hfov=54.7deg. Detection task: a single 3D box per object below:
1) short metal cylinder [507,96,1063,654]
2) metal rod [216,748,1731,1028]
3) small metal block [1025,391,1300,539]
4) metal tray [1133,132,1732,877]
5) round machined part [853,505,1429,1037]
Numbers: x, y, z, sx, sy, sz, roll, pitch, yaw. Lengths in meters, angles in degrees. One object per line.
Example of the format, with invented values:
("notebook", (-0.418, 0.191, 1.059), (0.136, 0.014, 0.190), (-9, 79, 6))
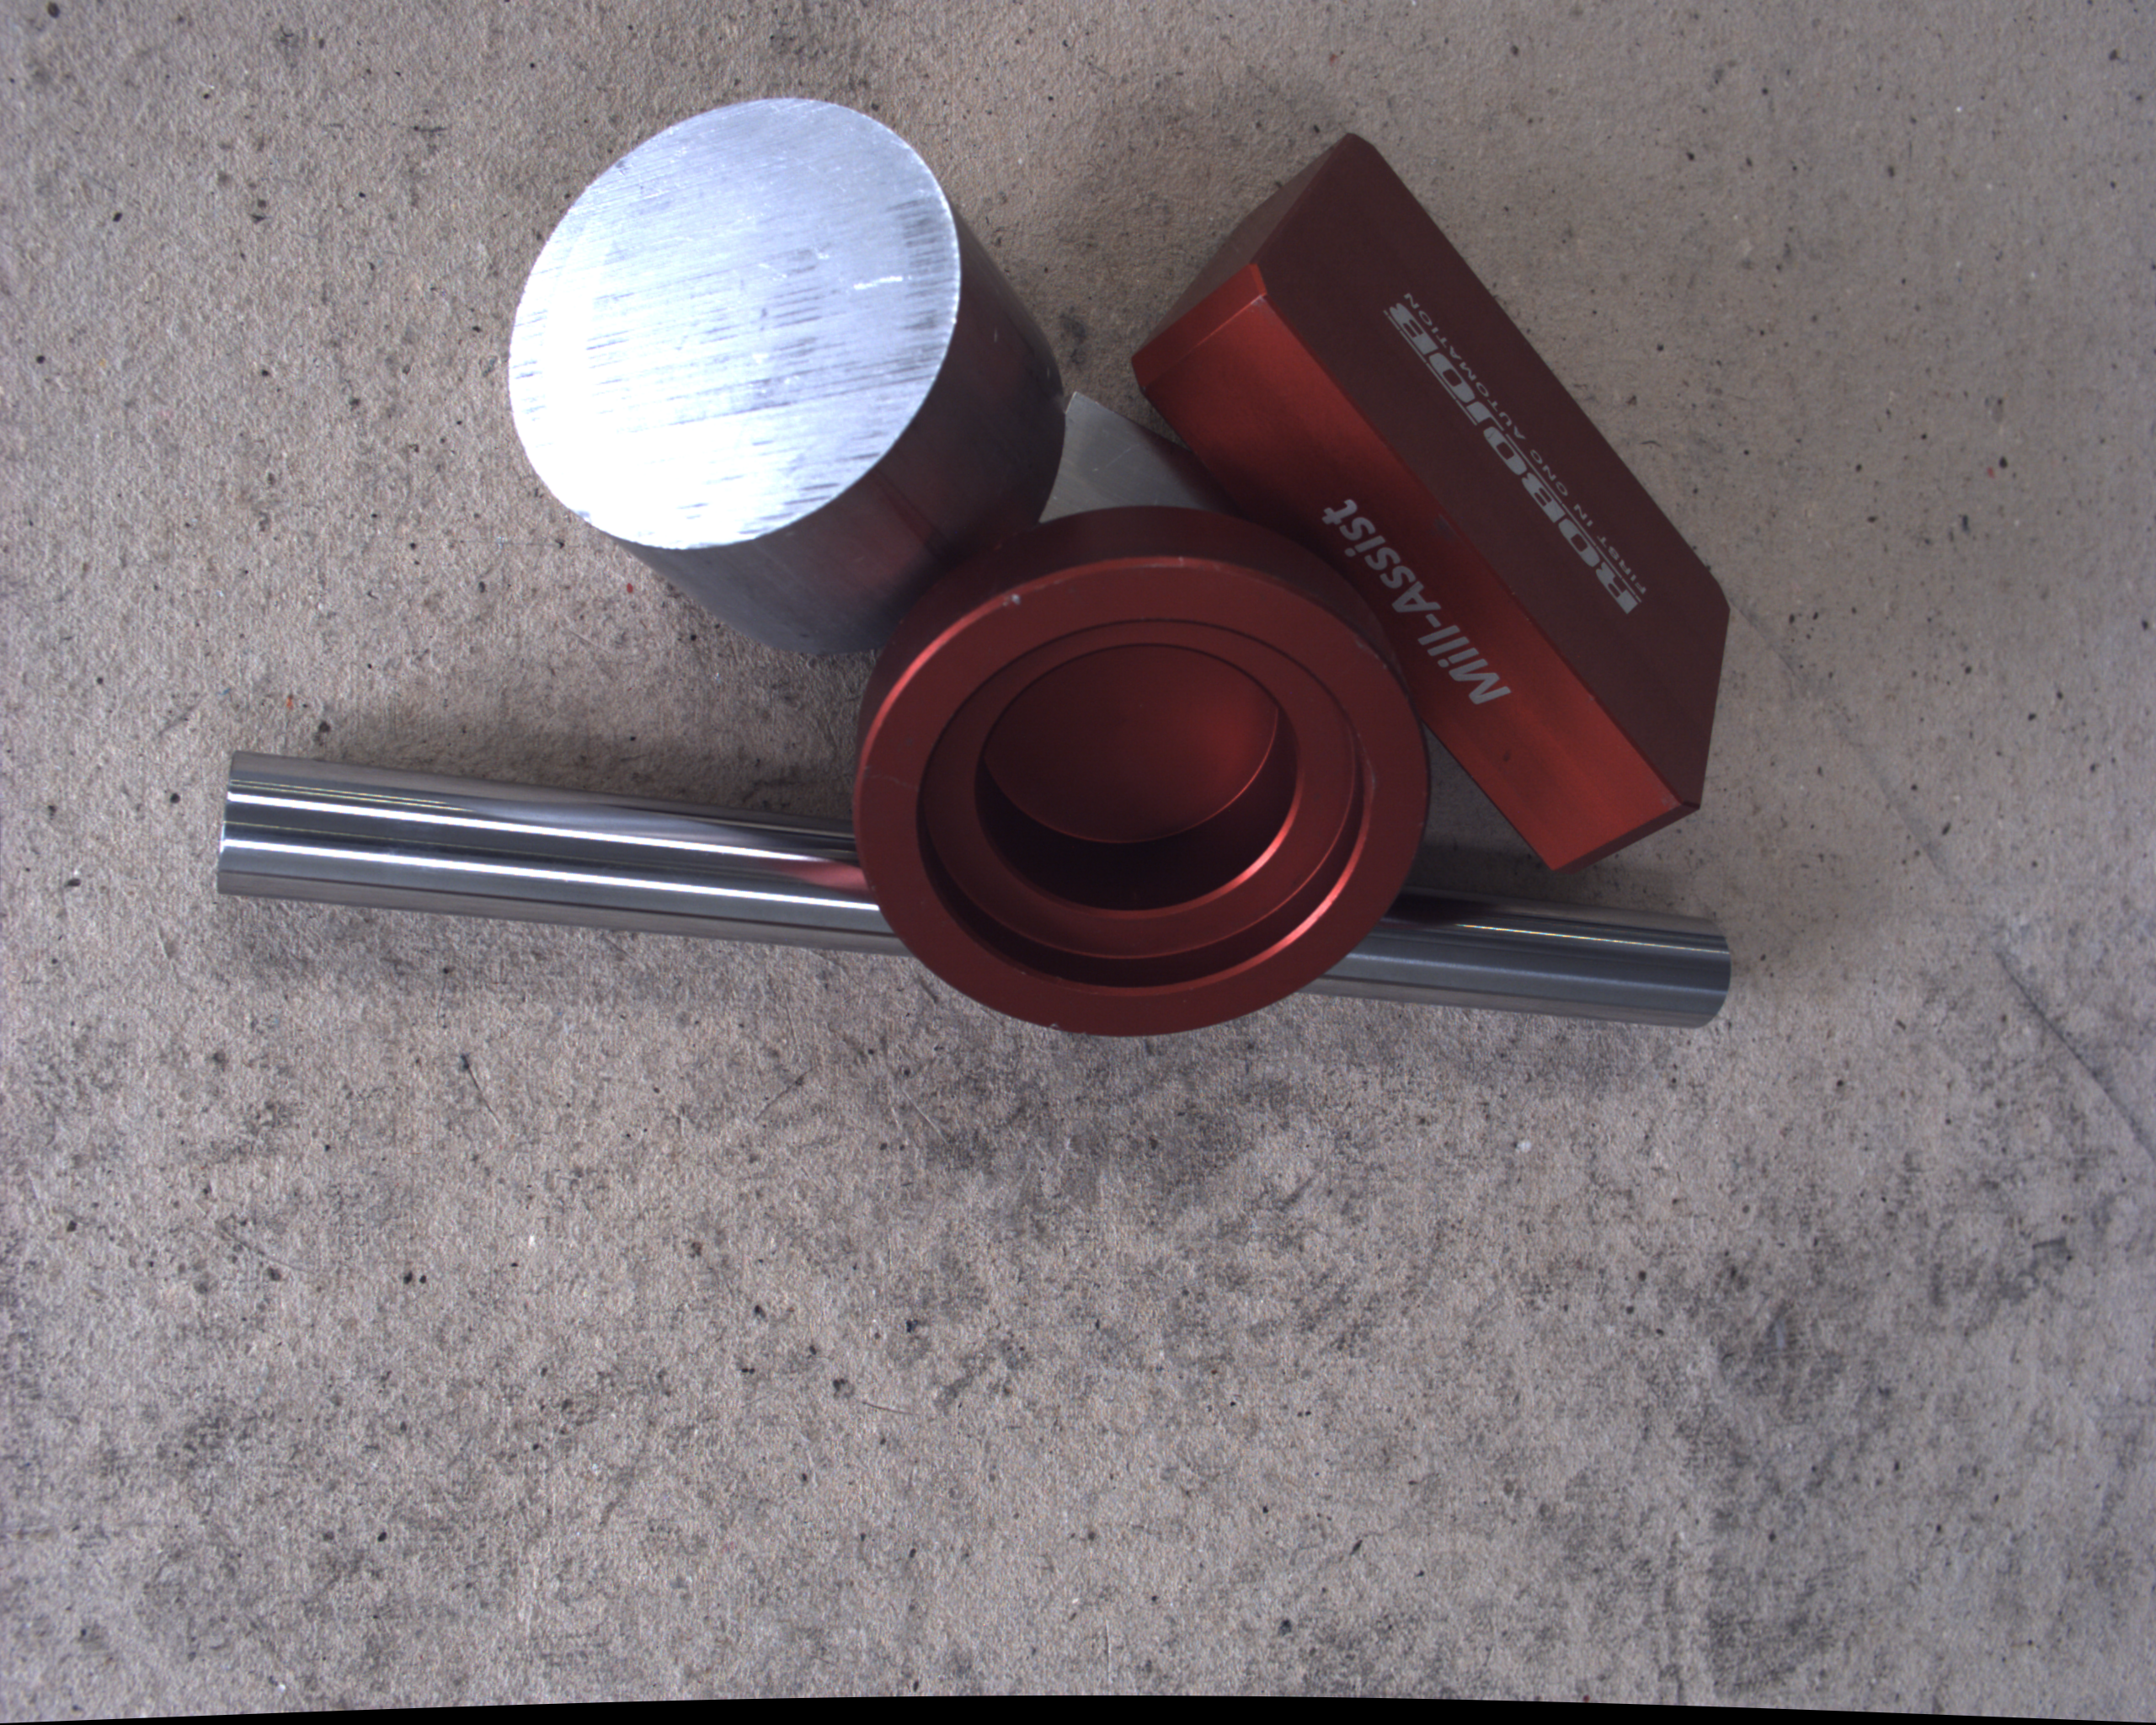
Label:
("short metal cylinder", (-0.049, -0.082, 0.358), (0.080, 0.050, 0.080), (-5, 74, 18))
("metal rod", (-0.005, 0.008, 0.409), (0.302, 0.025, 0.025), (6, 88, -20))
("small metal block", (0.008, -0.062, 0.398), (0.050, 0.050, 0.025), (25, 82, -19))
("metal tray", (0.075, -0.071, 0.408), (0.130, 0.030, 0.090), (47, 37, -14))
("round machined part", (0.010, -0.019, 0.372), (0.099, 0.042, 0.097), (-3, 124, -4))
